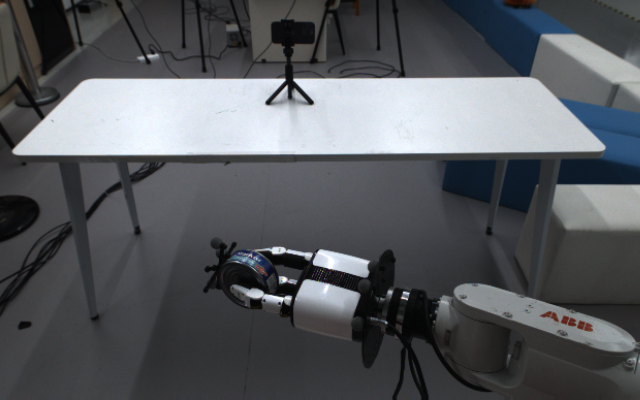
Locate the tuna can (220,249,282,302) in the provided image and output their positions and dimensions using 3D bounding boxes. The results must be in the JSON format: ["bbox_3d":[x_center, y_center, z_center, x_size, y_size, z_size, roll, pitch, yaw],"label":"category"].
[{"bbox_3d":[-0.102,0.114,0.709,0.085,0.085,0.034,13,31,15],"label":"tuna can"}]
